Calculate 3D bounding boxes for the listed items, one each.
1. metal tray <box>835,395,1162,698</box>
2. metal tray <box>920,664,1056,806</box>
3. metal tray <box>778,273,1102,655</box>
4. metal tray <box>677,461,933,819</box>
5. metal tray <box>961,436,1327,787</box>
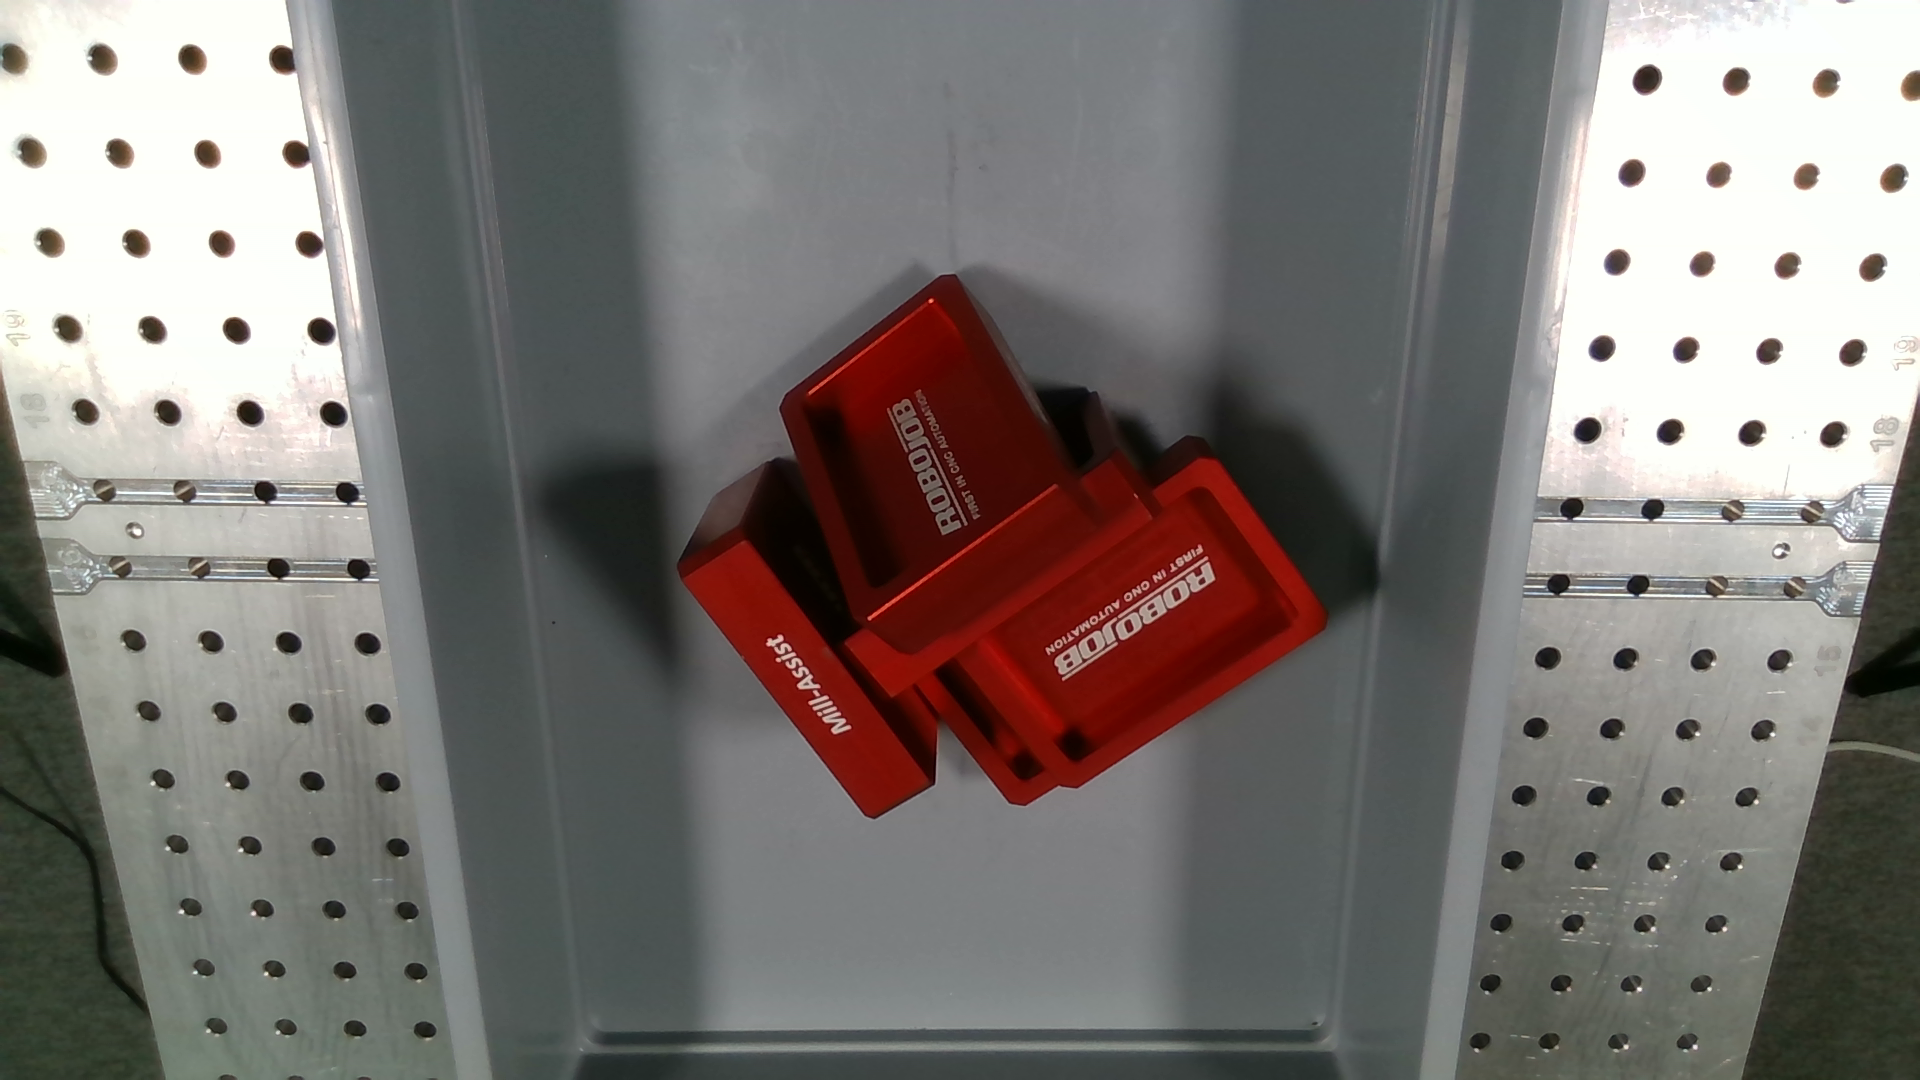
[{"bbox_3d":[0.013,0.000,0.548,0.130,0.090,0.030,-35,106,12],"label":"metal tray"},{"bbox_3d":[0.053,0.046,0.599,0.130,0.030,0.090,-33,105,10],"label":"metal tray"},{"bbox_3d":[-0.012,-0.032,0.517,0.090,0.130,0.030,-35,137,12],"label":"metal tray"},{"bbox_3d":[-0.058,0.039,0.563,0.030,0.090,0.130,-31,107,11],"label":"metal tray"},{"bbox_3d":[0.069,0.030,0.559,0.130,0.030,0.090,-35,106,11],"label":"metal tray"}]
